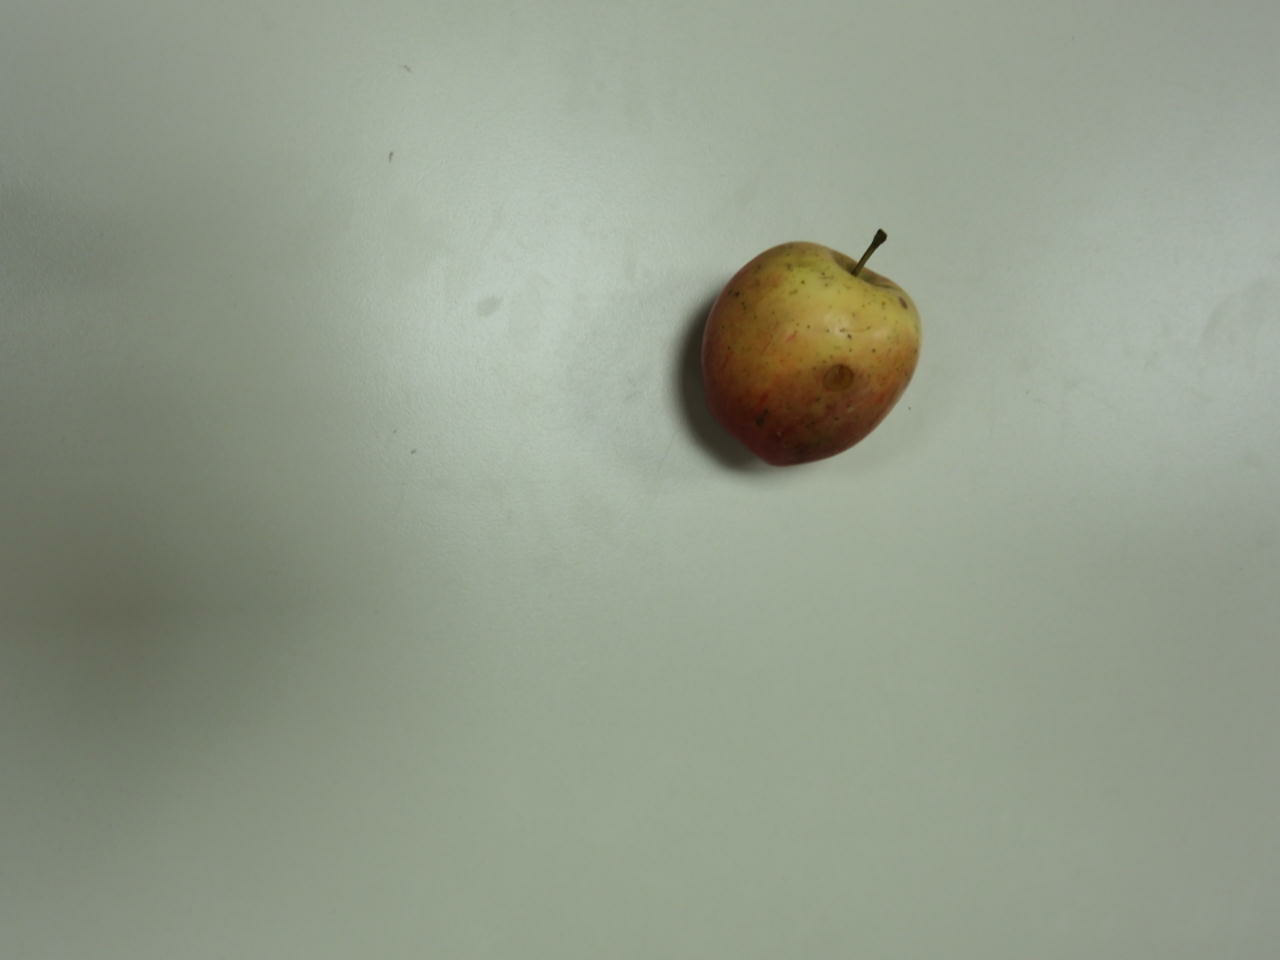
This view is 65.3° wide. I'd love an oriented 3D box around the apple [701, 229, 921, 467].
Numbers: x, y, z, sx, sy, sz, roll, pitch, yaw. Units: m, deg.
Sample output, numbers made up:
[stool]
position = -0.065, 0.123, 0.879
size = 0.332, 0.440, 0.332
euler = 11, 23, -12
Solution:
[apple]
position = 0.070, -0.053, 0.408
size = 0.093, 0.084, 0.086
euler = -37, 97, -9
